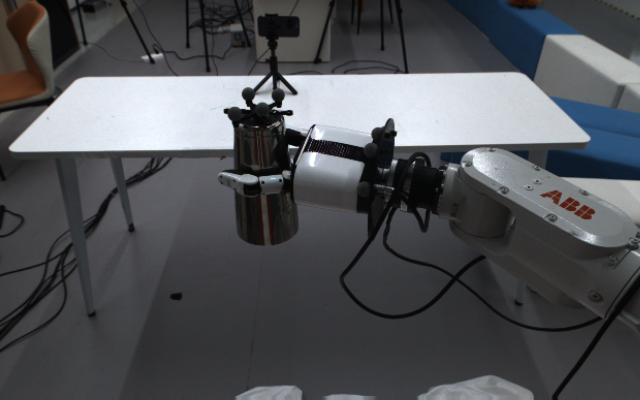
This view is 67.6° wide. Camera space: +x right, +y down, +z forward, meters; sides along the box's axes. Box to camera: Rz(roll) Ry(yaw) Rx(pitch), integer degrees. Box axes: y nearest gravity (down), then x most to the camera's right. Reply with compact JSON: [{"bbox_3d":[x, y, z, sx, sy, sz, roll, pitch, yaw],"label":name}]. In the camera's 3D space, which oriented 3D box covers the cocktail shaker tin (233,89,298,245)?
[{"bbox_3d":[-0.076,-0.034,0.664,0.093,0.170,0.093,0,33,0],"label":"cocktail shaker tin"}]
